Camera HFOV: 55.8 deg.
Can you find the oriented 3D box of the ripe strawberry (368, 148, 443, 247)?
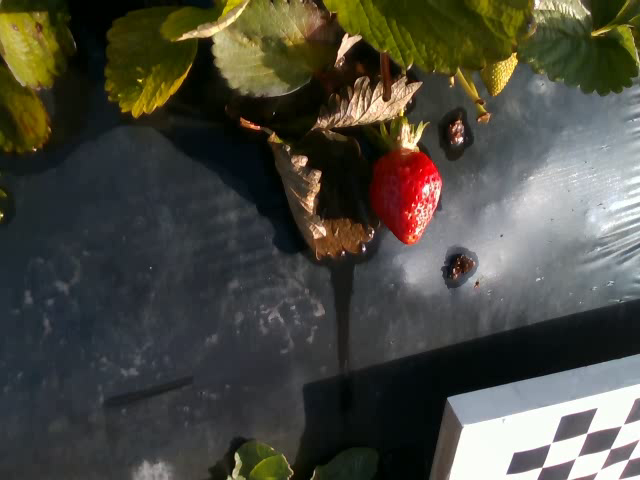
[{"bbox_3d":[0.038,-0.011,0.255,0.047,0.054,0.038,8,-13,-26],"label":"ripe strawberry"}]
